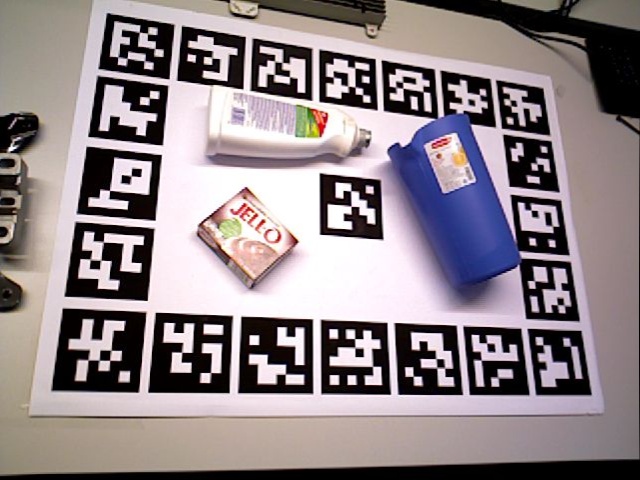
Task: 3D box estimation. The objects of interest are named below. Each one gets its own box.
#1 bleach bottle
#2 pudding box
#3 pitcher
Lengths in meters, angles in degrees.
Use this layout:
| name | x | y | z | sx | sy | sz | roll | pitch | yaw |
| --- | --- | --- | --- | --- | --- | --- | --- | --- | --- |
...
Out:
| name | x | y | z | sx | sy | sz | roll | pitch | yaw |
| --- | --- | --- | --- | --- | --- | --- | --- | --- | --- |
| bleach bottle | -0.039 | -0.157 | 0.799 | 0.248 | 0.069 | 0.102 | 3 | 76 | -17 |
| pudding box | -0.099 | 0.004 | 0.739 | 0.088 | 0.039 | 0.114 | -40 | 89 | -29 |
| pitcher | 0.213 | -0.035 | 0.817 | 0.185 | 0.136 | 0.243 | -13 | 80 | -55 |
